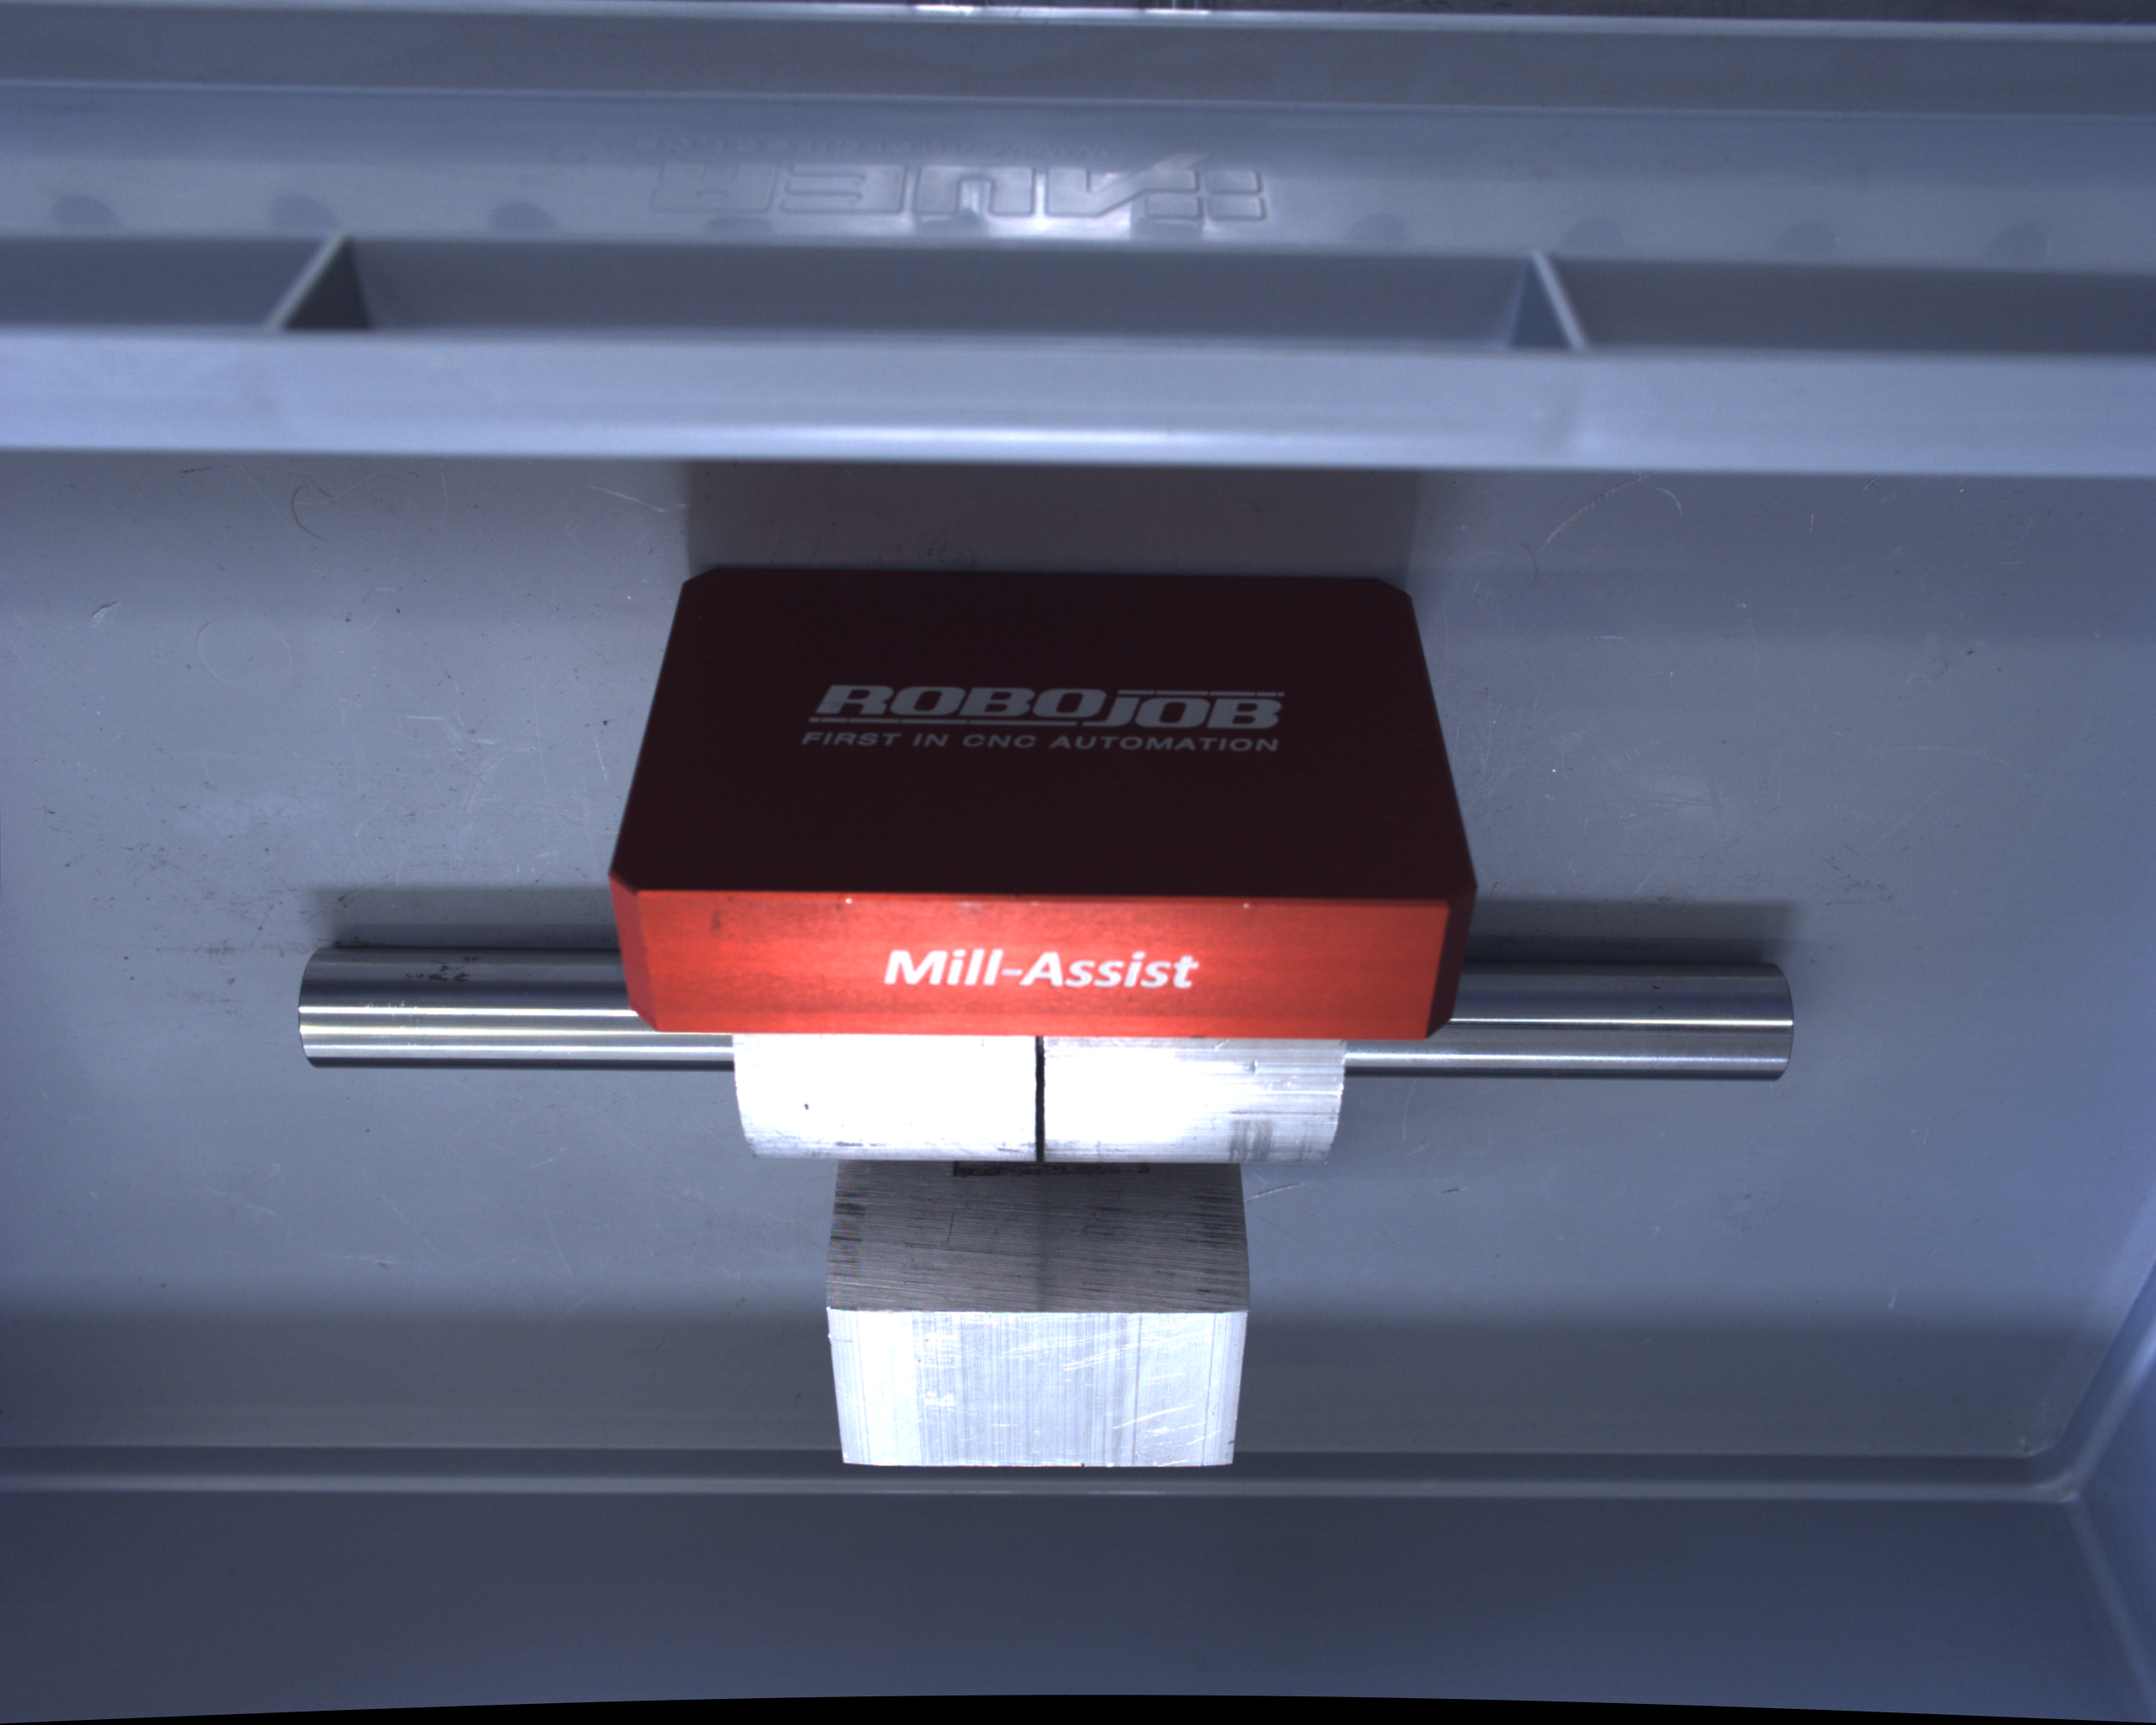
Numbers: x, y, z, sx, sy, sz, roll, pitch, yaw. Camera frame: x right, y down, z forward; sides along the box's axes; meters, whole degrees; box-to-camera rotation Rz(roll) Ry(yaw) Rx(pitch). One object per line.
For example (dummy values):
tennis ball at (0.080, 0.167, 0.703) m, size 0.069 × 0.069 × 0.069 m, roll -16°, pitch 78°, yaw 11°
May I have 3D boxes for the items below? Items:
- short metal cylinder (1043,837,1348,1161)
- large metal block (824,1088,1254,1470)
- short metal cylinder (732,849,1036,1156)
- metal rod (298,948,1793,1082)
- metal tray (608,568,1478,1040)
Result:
short metal cylinder at (0.020, 0.014, 0.384) m, size 0.050 × 0.080 × 0.079 m, roll 1°, pitch 130°, yaw -1°
large metal block at (-0.008, 0.078, 0.437) m, size 0.081 × 0.080 × 0.050 m, roll 1°, pitch 130°, yaw -1°
short metal cylinder at (-0.033, 0.014, 0.384) m, size 0.050 × 0.080 × 0.079 m, roll 0°, pitch 130°, yaw -1°
metal rod at (-0.006, 0.032, 0.434) m, size 0.302 × 0.025 × 0.025 m, roll 1°, pitch 130°, yaw -1°
metal tray at (-0.005, -0.012, 0.353) m, size 0.131 × 0.090 × 0.030 m, roll 1°, pitch 130°, yaw -1°
